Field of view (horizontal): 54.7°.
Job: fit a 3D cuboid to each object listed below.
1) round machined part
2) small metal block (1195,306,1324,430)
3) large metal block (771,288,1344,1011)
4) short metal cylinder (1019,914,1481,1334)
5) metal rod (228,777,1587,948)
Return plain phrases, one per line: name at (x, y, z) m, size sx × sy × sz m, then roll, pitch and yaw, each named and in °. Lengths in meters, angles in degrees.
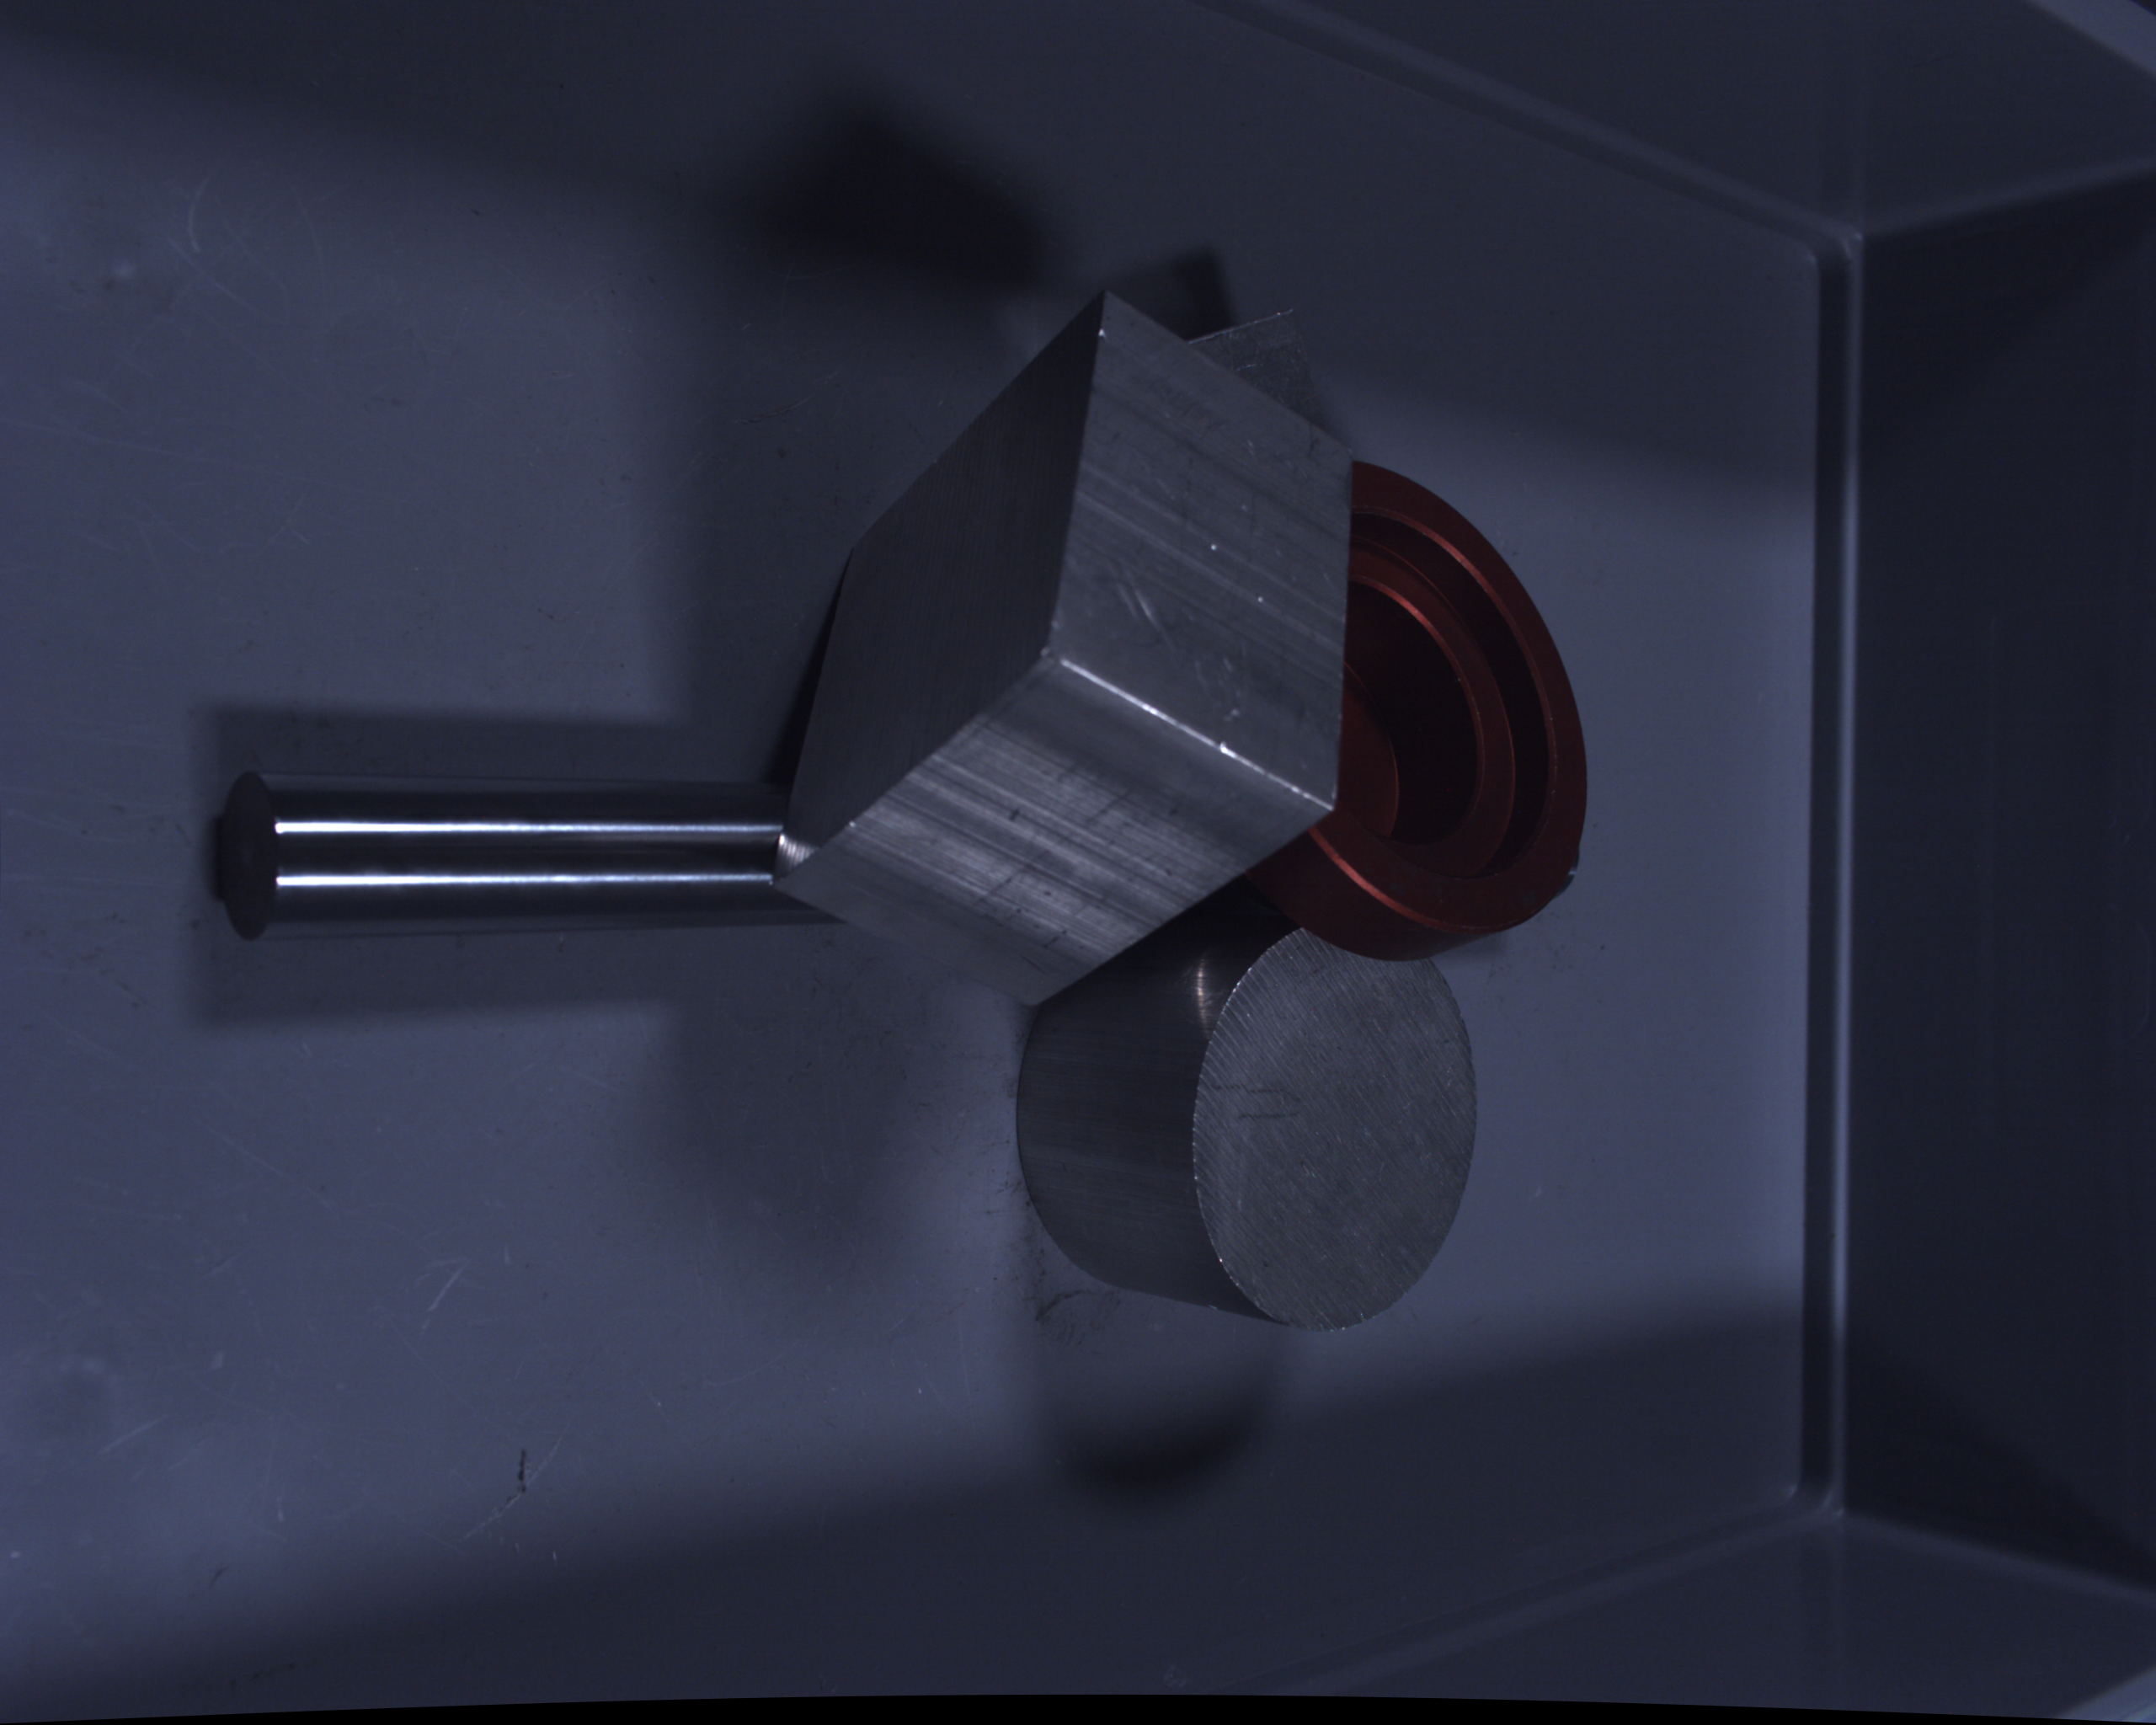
round machined part at (0.054, -0.027, 0.416) m, size 0.099 × 0.042 × 0.098 m, roll 16°, pitch 63°, yaw -34°
small metal block at (0.025, -0.082, 0.428) m, size 0.050 × 0.025 × 0.050 m, roll -27°, pitch 107°, yaw -37°
large metal block at (-0.002, -0.033, 0.350) m, size 0.050 × 0.080 × 0.080 m, roll 27°, pitch 50°, yaw -26°
short metal cylinder at (0.035, 0.050, 0.419) m, size 0.081 × 0.050 × 0.079 m, roll 0°, pitch 90°, yaw -40°
metal rod at (-0.004, -0.001, 0.401) m, size 0.302 × 0.025 × 0.025 m, roll 0°, pitch 90°, yaw -40°
